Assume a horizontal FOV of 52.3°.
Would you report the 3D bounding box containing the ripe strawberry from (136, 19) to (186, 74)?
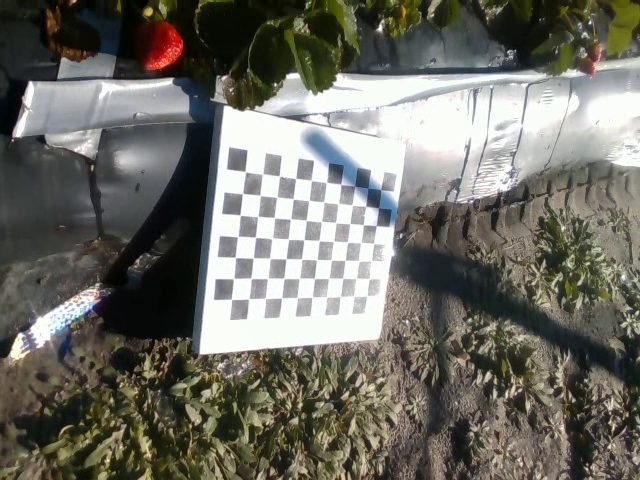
[{"bbox_3d":[-0.163,-0.190,0.676,0.057,0.065,0.062,-28,-48,19],"label":"ripe strawberry"}]
